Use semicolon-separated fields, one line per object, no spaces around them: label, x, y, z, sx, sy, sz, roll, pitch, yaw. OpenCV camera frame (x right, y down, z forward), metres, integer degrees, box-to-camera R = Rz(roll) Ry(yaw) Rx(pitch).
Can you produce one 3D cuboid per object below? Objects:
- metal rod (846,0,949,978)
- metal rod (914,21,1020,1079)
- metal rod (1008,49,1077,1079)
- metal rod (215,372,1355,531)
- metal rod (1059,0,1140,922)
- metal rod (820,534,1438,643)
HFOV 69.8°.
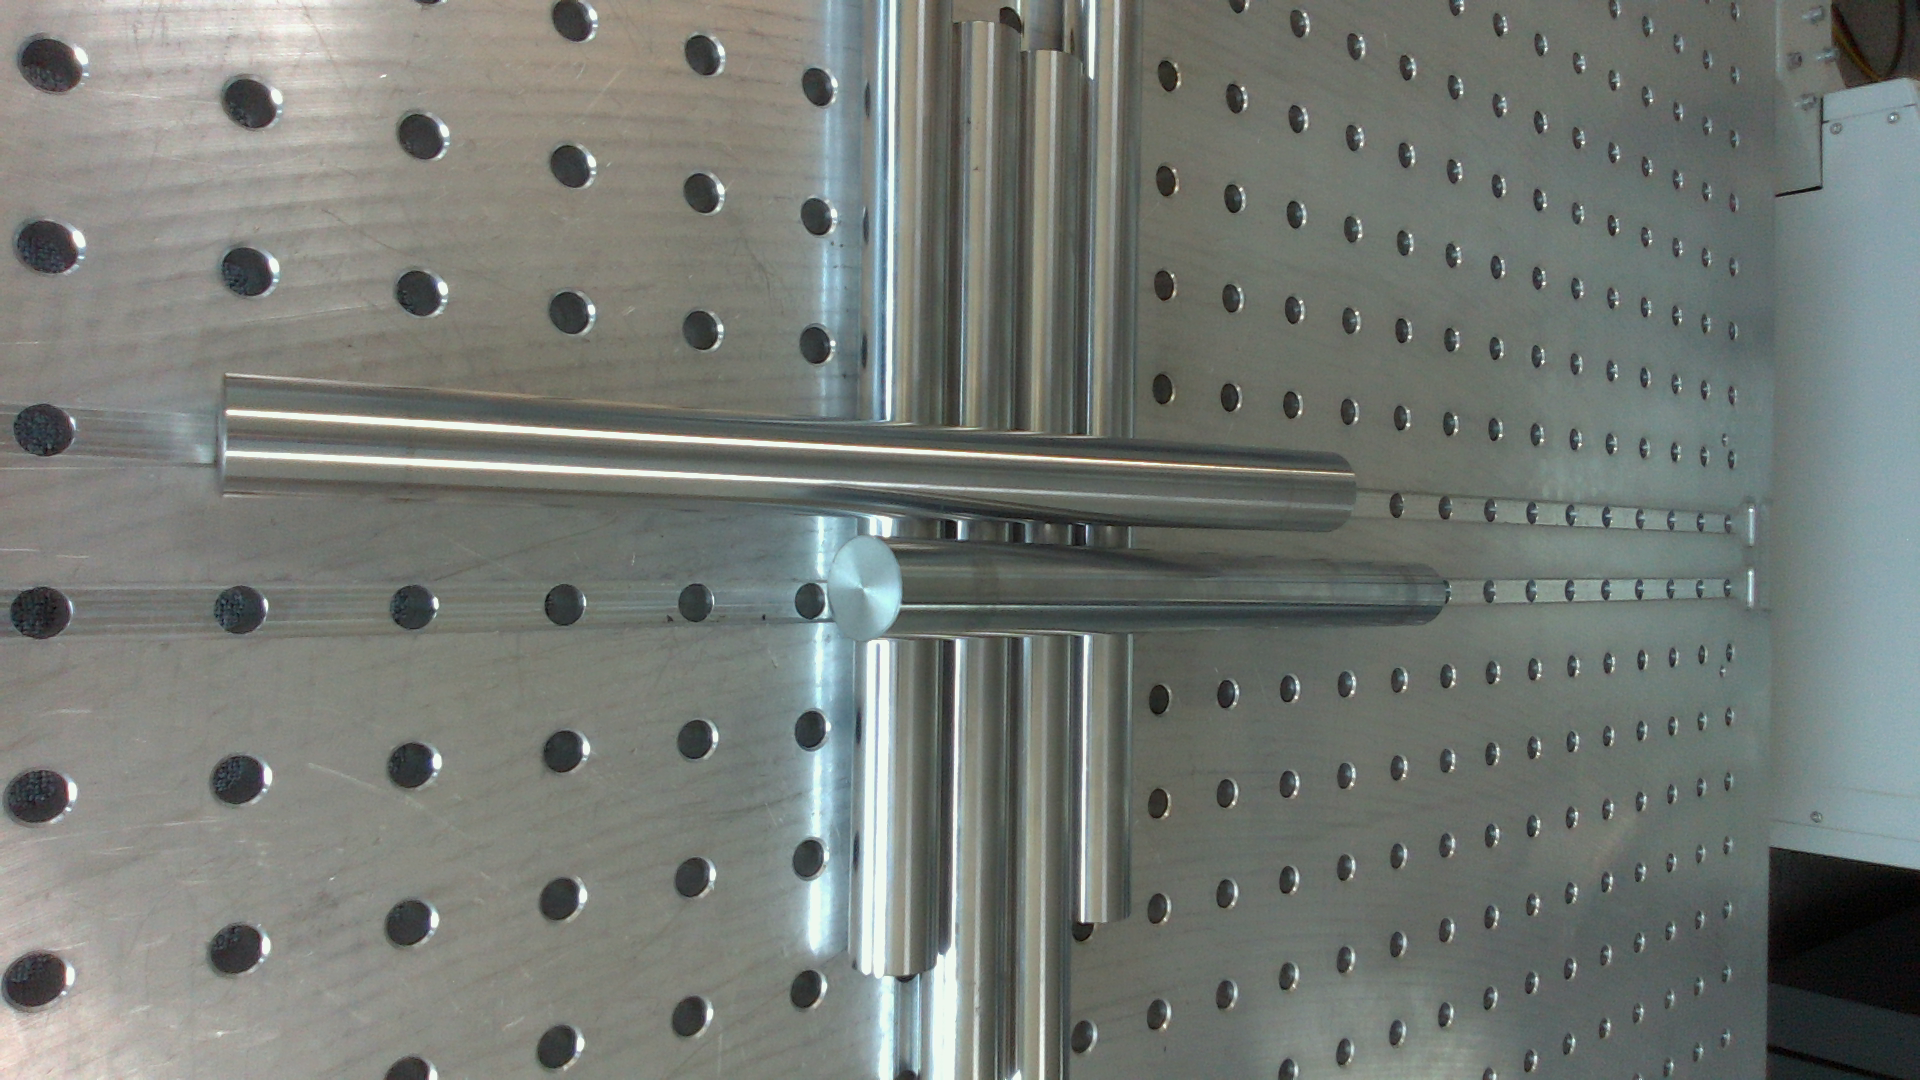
metal rod;-0.017;-0.034;0.377;0.025;0.025;0.300;1;89;-40
metal rod;0.002;0.006;0.392;0.025;0.025;0.300;2;89;-40
metal rod;0.021;0.008;0.410;0.025;0.025;0.300;1;89;-40
metal rod;-0.017;-0.018;0.347;0.301;0.025;0.025;1;89;-31
metal rod;0.042;-0.036;0.425;0.025;0.025;0.300;1;89;-40
metal rod;0.076;0.016;0.428;0.301;0.025;0.025;3;88;-48
